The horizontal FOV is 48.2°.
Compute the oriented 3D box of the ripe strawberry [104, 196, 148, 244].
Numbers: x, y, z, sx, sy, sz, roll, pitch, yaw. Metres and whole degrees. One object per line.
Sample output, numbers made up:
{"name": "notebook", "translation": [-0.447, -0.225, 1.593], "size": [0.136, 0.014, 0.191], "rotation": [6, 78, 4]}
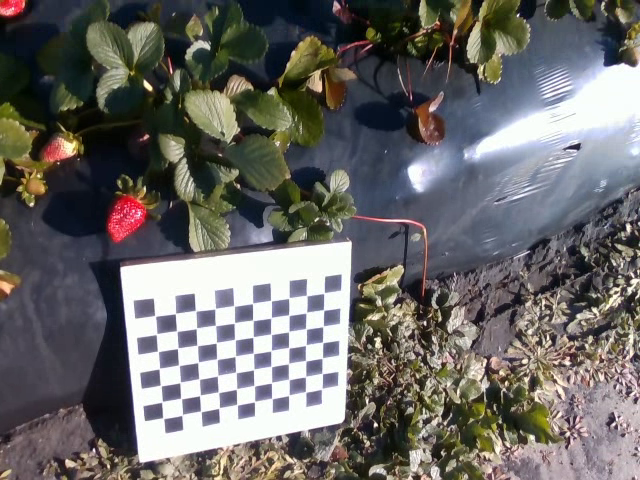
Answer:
{"name": "ripe strawberry", "translation": [-0.222, -0.025, 0.799], "size": [0.058, 0.062, 0.065], "rotation": [-34, -57, 25]}
